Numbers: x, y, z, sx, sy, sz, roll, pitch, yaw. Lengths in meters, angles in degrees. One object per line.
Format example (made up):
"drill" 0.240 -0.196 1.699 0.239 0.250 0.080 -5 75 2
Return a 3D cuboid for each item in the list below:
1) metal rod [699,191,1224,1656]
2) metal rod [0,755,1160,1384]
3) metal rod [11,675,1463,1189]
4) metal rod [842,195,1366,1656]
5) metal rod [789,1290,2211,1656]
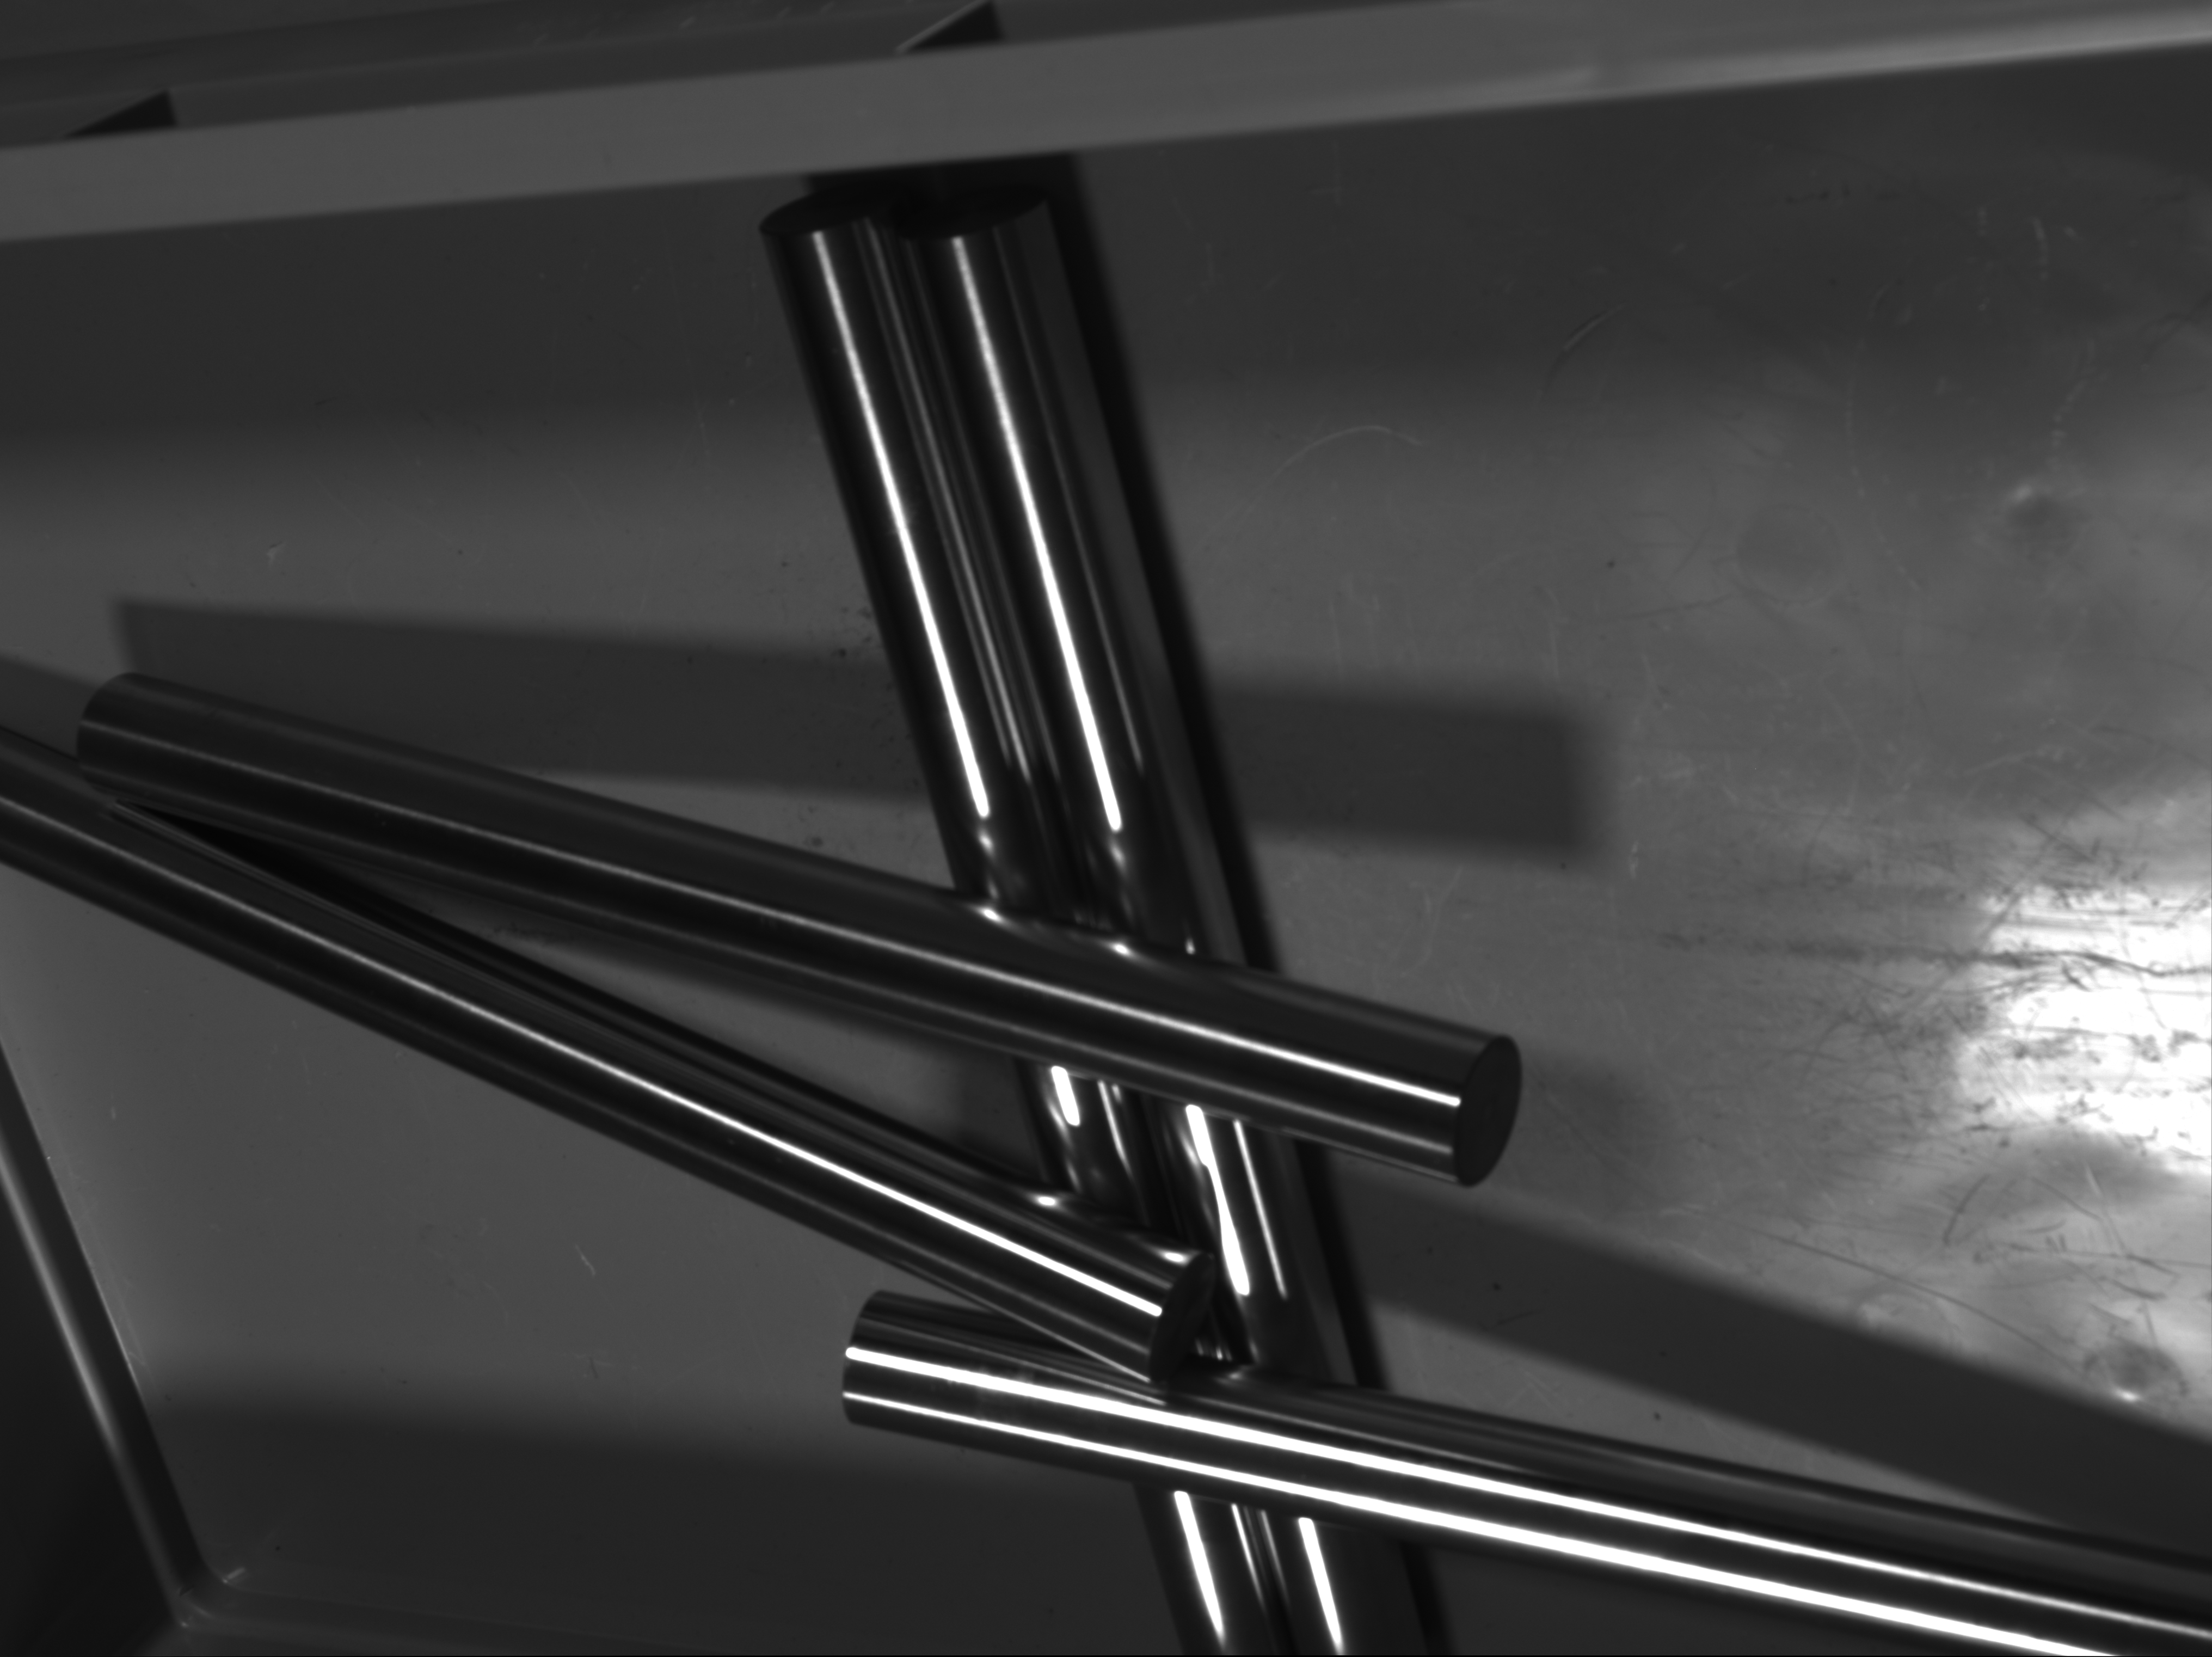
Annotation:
"metal rod" -0.019 0.033 0.657 0.025 0.025 0.300 -1 118 27
"metal rod" -0.127 0.036 0.699 0.299 0.025 0.025 21 126 21
"metal rod" -0.077 0.014 0.652 0.299 0.025 0.025 14 124 28
"metal rod" 0.005 0.035 0.647 0.025 0.025 0.300 -1 118 27
"metal rod" 0.089 0.122 0.636 0.300 0.025 0.025 10 122 15
